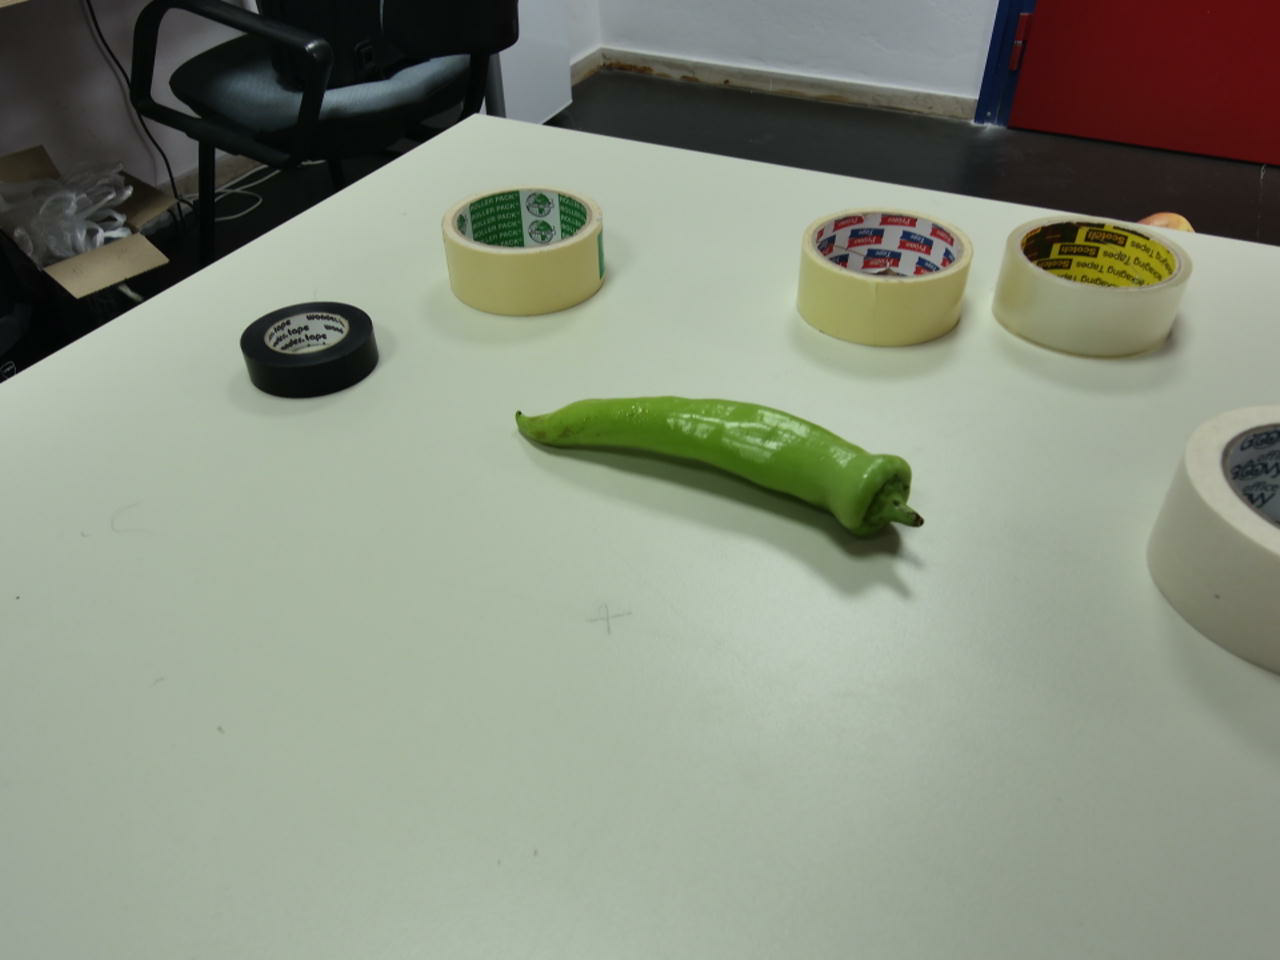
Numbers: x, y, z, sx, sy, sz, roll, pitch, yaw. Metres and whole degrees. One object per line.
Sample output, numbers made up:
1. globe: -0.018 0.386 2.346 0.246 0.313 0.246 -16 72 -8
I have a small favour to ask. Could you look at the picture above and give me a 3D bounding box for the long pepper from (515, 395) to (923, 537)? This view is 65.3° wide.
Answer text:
1. long pepper: 0.031 -0.017 0.437 0.197 0.038 0.046 19 41 23
